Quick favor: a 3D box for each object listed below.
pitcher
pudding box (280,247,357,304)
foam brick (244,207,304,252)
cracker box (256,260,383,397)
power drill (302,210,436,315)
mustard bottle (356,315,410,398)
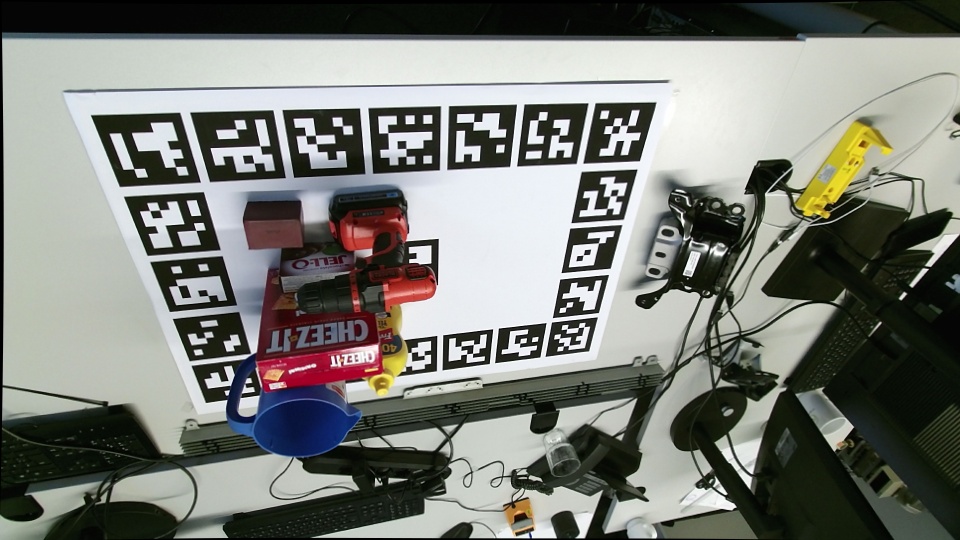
[{"bbox_3d":[-0.294,0.169,0.847,0.189,0.241,0.133,-1,124,-19],"label":"pitcher"},{"bbox_3d":[-0.245,0.007,0.820,0.114,0.089,0.038,-6,127,-16],"label":"pudding box"},{"bbox_3d":[-0.305,-0.059,0.796,0.078,0.051,0.053,-3,123,-15],"label":"foam brick"},{"bbox_3d":[-0.243,0.078,0.804,0.165,0.212,0.072,-8,128,-14],"label":"cracker box"},{"bbox_3d":[-0.164,-0.010,0.746,0.185,0.186,0.057,-6,129,-12],"label":"power drill"},{"bbox_3d":[-0.167,0.151,0.887,0.096,0.190,0.058,7,121,-21],"label":"mustard bottle"}]
